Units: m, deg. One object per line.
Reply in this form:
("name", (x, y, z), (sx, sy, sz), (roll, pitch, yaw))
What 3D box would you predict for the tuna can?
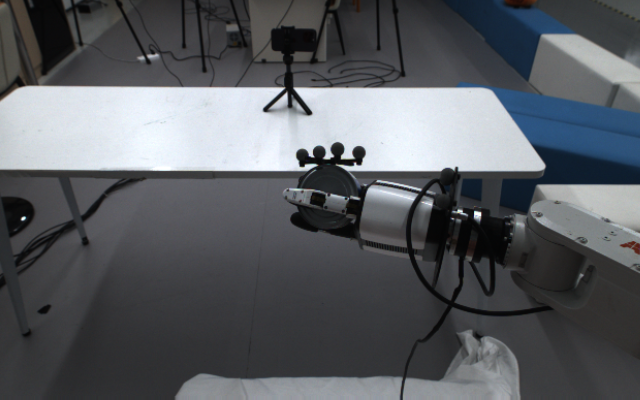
("tuna can", (0.013, -0.004, 0.649), (0.085, 0.085, 0.034), (15, 1, 18))
